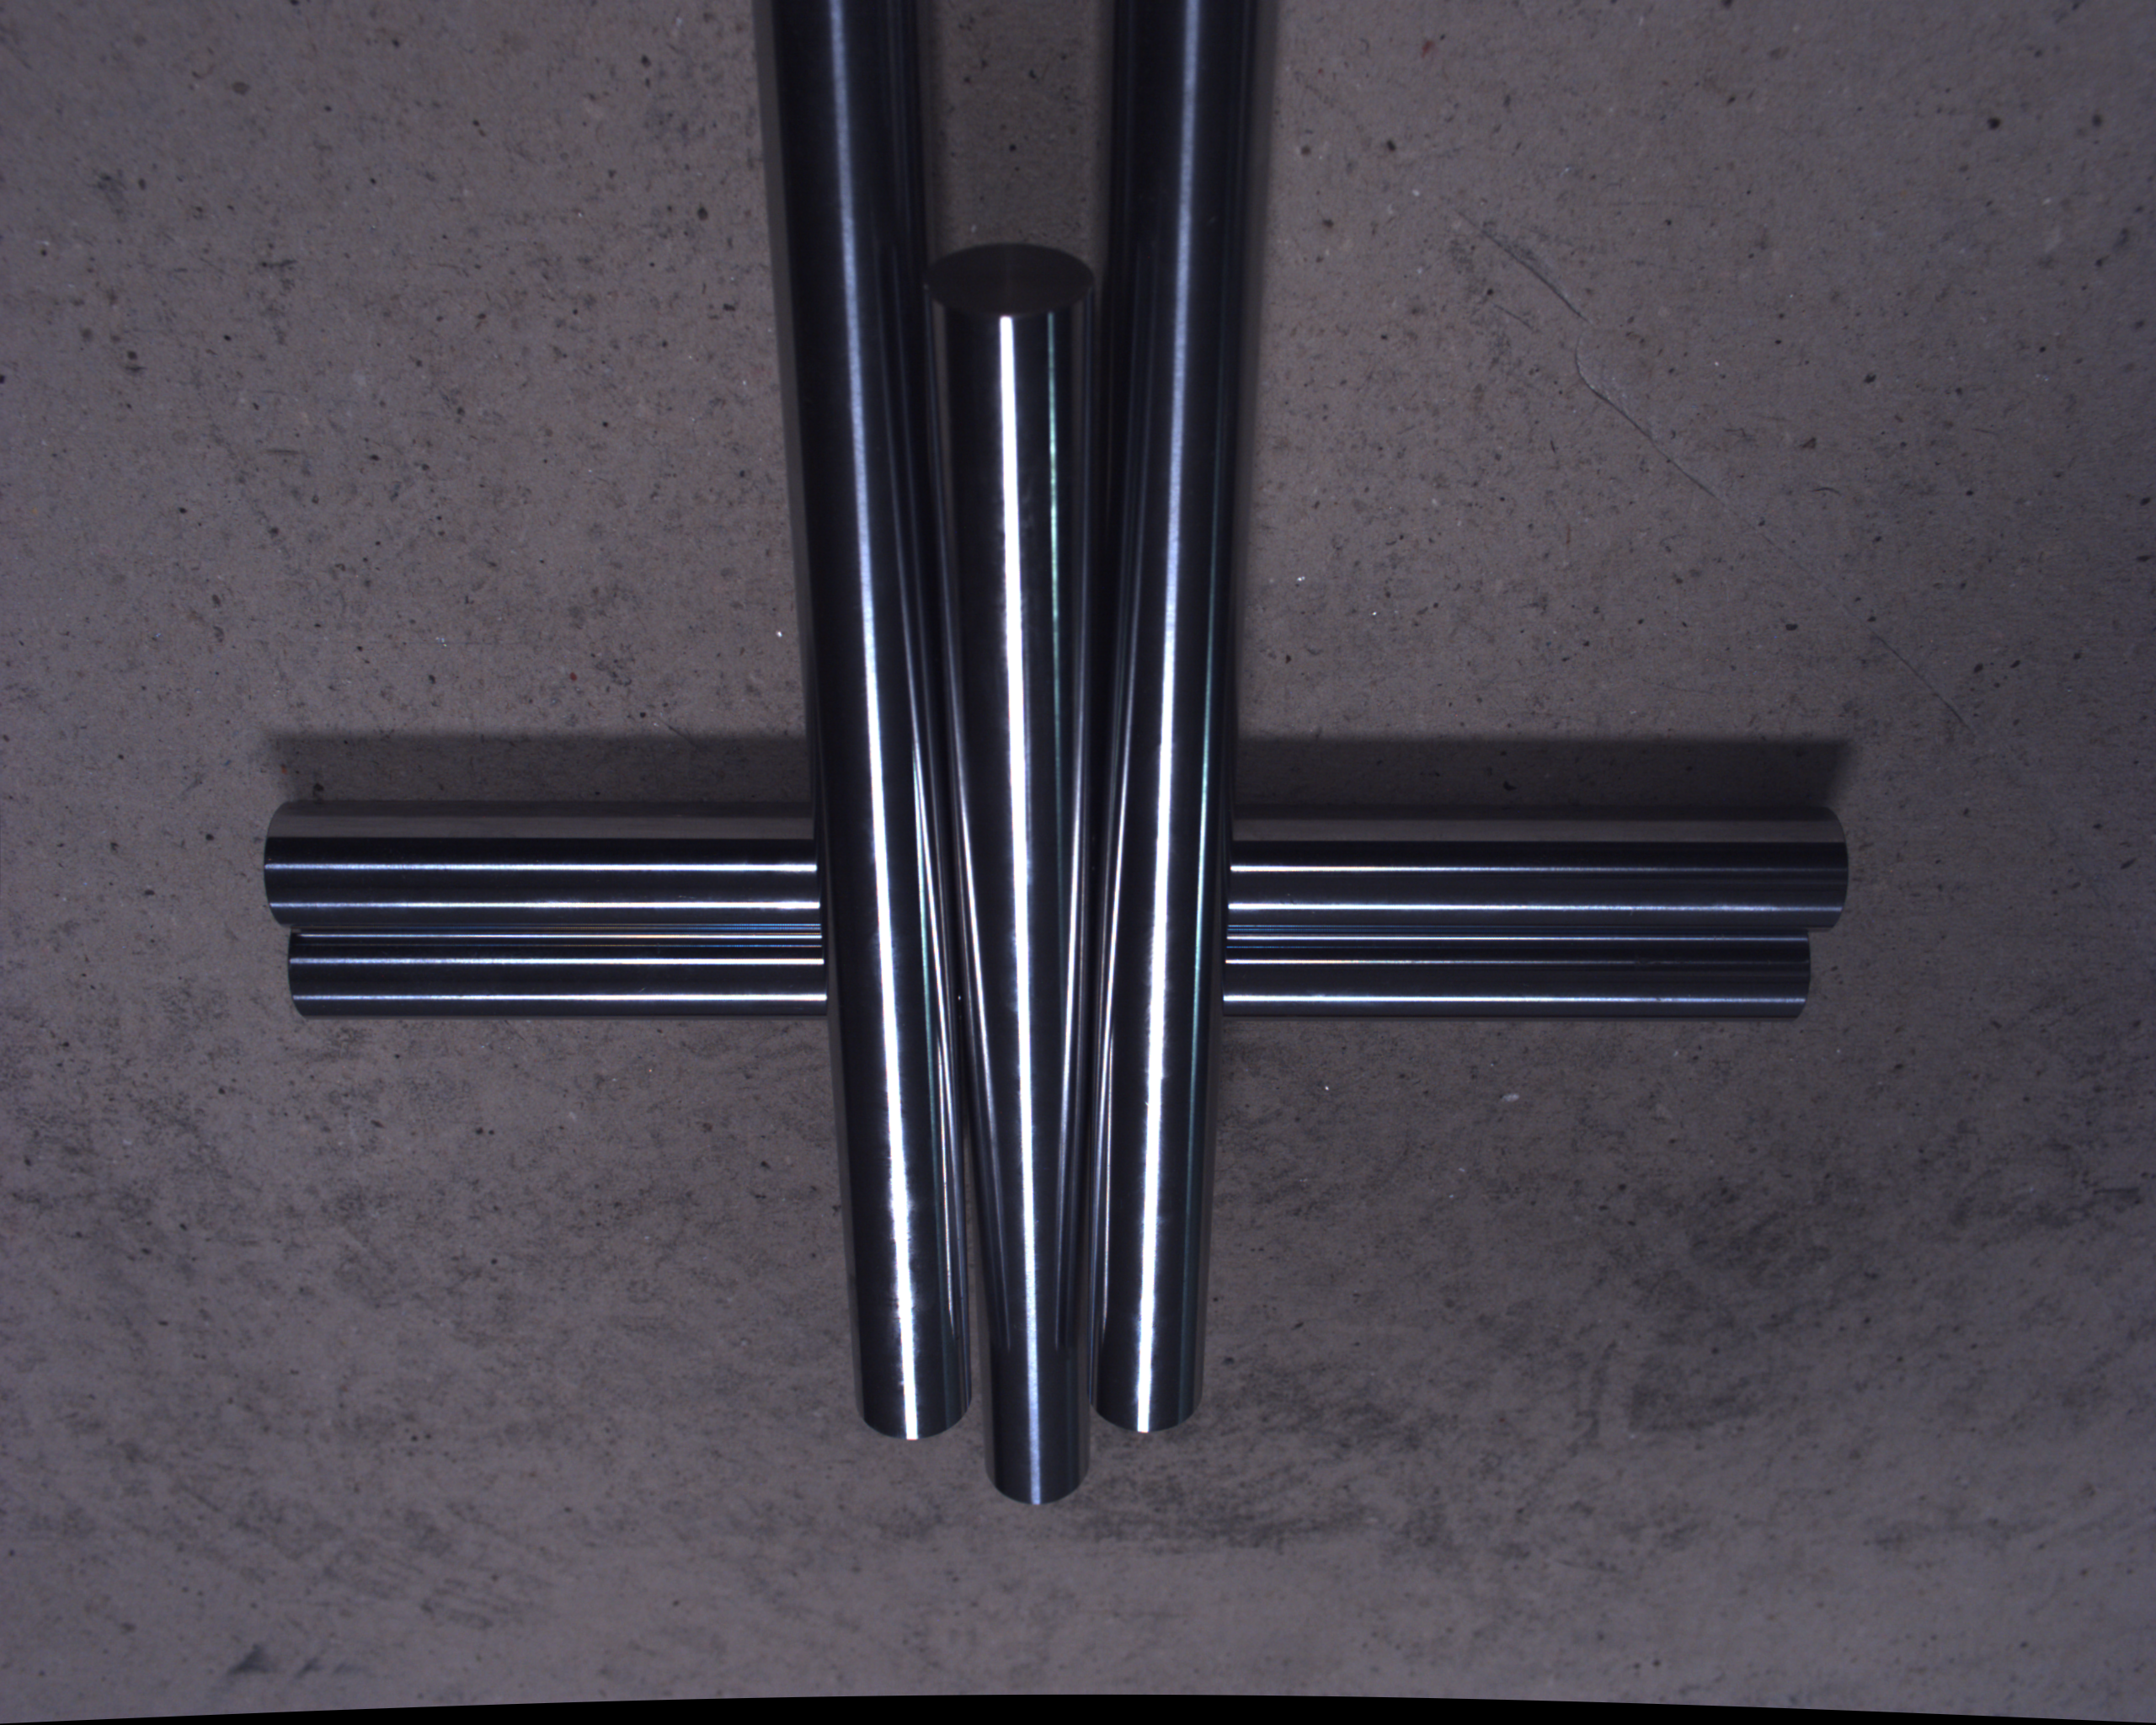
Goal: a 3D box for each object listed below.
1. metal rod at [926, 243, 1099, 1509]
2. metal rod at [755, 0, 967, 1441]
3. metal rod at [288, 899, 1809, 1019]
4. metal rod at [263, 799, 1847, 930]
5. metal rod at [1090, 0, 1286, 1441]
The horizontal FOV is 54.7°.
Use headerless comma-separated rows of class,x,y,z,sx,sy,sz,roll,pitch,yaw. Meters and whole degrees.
metal rod,-0.010,0.029,0.400,0.025,0.025,0.298,0,130,0
metal rod,-0.035,-0.010,0.372,0.025,0.025,0.298,0,122,-1
metal rod,-0.005,0.019,0.426,0.302,0.025,0.025,0,130,-1
metal rod,-0.003,0.000,0.410,0.302,0.025,0.025,0,130,-1
metal rod,0.016,-0.010,0.372,0.025,0.025,0.298,0,122,-1
